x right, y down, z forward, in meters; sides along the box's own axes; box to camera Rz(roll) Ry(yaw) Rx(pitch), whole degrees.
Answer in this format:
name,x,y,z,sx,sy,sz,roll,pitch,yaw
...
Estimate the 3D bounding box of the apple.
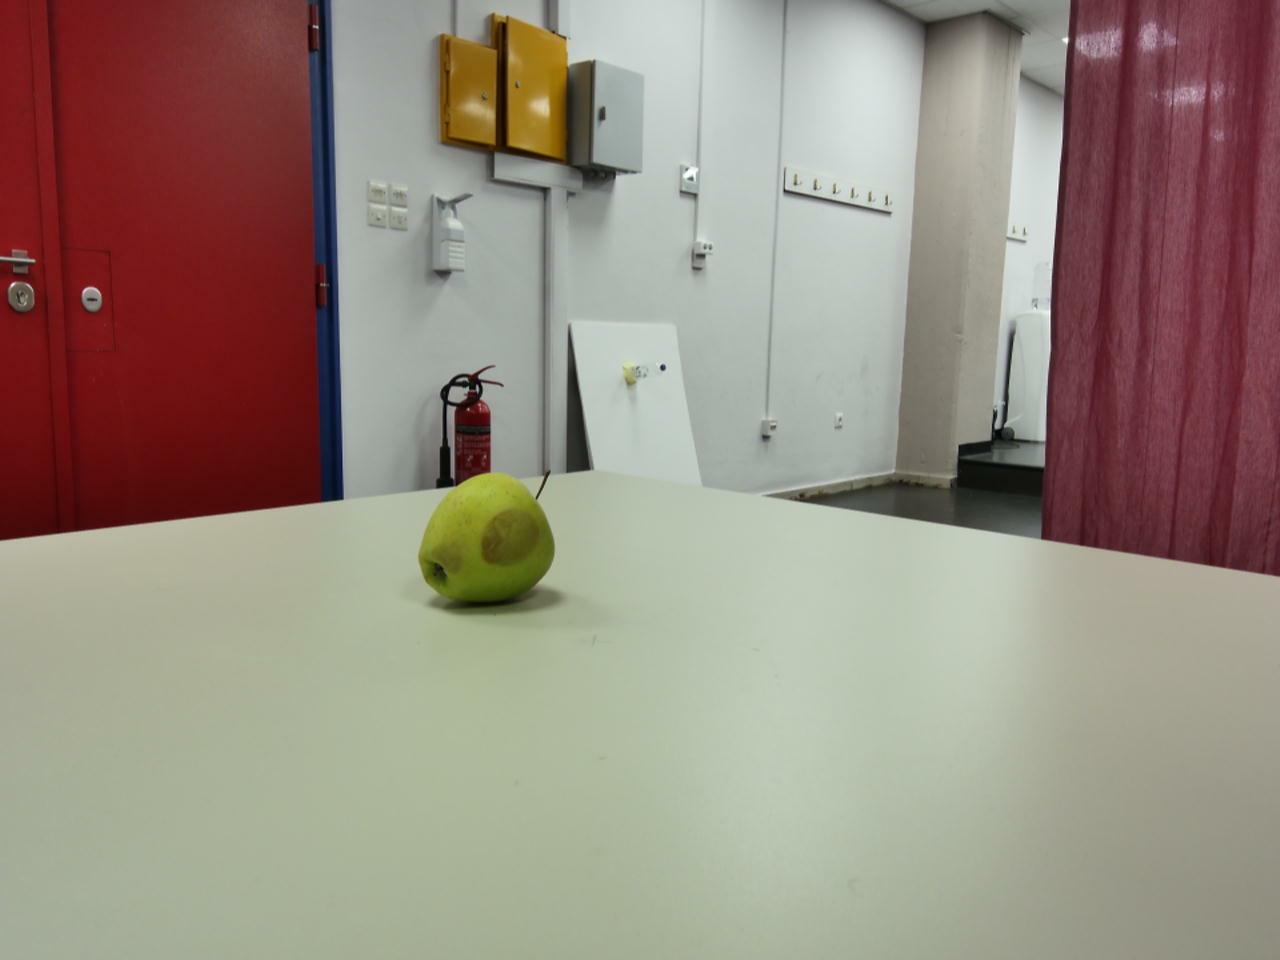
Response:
name,x,y,z,sx,sy,sz,roll,pitch,yaw
apple,-0.092,0.034,0.600,0.077,0.075,0.072,-1,7,-4
